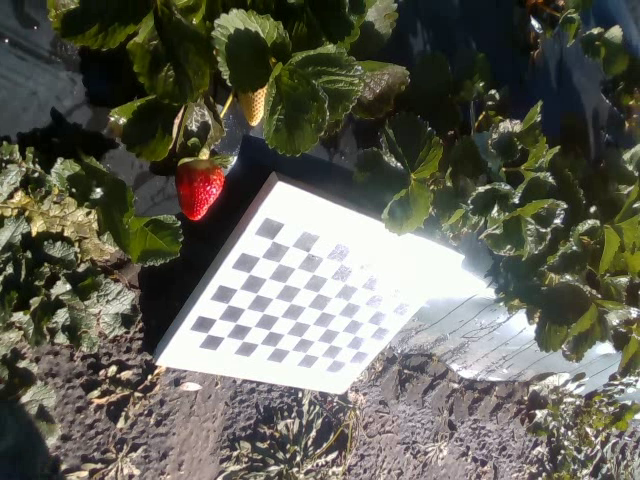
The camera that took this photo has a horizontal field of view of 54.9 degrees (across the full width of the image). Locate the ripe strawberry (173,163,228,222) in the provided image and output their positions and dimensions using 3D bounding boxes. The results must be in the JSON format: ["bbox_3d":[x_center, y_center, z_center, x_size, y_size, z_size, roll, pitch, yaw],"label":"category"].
[{"bbox_3d":[-0.113,-0.046,0.563,0.048,0.069,0.040,2,31,-25],"label":"ripe strawberry"}]
